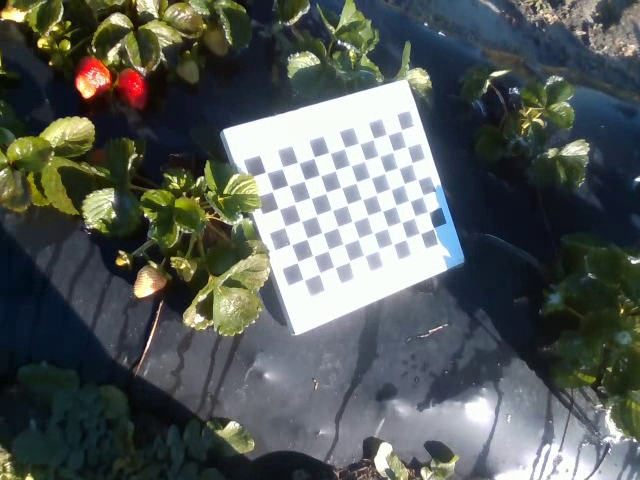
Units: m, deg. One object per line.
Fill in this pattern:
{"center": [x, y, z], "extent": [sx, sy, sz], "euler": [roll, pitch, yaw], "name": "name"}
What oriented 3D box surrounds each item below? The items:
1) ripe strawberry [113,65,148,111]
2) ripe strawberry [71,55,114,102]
{"center": [-0.260, -0.211, 0.899], "extent": [0.043, 0.059, 0.040], "euler": [-21, 0, -23], "name": "ripe strawberry"}
{"center": [-0.312, -0.216, 0.887], "extent": [0.052, 0.070, 0.040], "euler": [32, -23, -26], "name": "ripe strawberry"}
